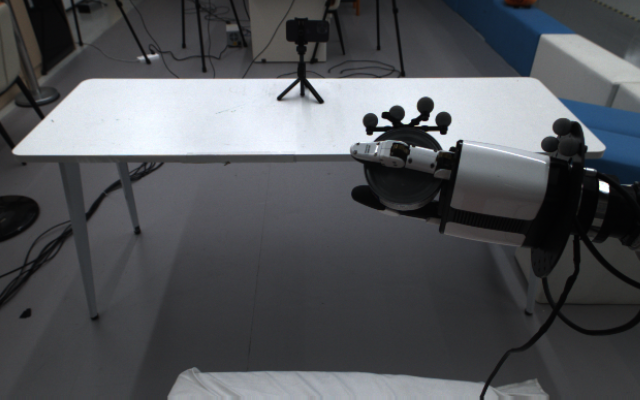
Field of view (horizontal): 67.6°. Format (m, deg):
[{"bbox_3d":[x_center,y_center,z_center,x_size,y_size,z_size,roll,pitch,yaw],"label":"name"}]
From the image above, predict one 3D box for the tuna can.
[{"bbox_3d":[0.093,-0.034,0.524,0.085,0.034,0.085,-3,73,11],"label":"tuna can"}]
